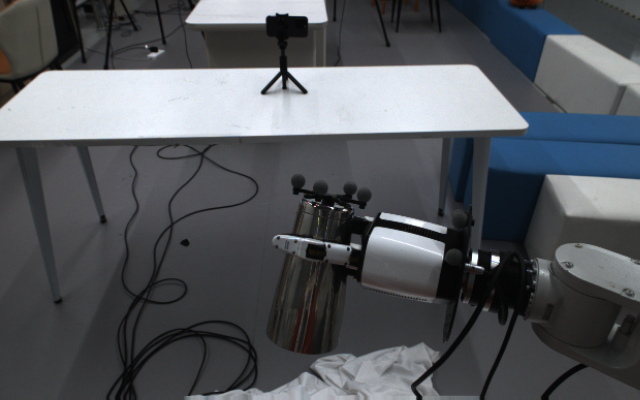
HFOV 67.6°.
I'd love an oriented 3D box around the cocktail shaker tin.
[{"bbox_3d":[-0.002,0.084,0.589,0.093,0.170,0.093,10,9,-2],"label":"cocktail shaker tin"}]
